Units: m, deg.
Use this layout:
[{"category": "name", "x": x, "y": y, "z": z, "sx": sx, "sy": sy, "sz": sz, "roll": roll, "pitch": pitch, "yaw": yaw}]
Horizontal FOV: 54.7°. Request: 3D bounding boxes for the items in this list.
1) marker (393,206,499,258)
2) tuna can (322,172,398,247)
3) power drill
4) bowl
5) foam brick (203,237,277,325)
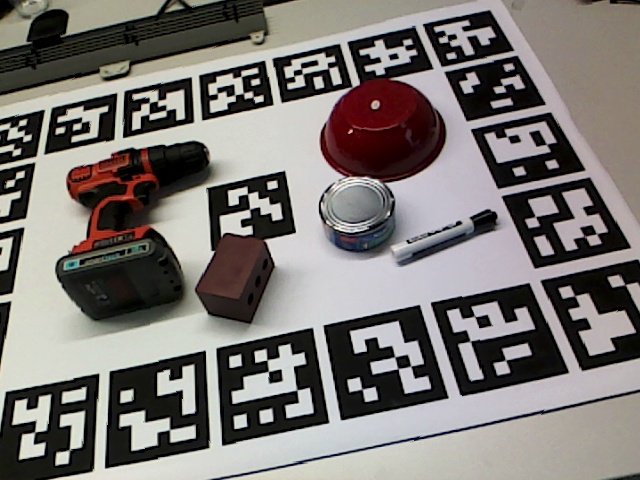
[{"category": "marker", "x": 0.139, "y": -0.010, "z": 0.676, "sx": 0.121, "sy": 0.019, "sz": 0.020, "roll": -21, "pitch": 55, "yaw": -6}, {"category": "tuna can", "x": 0.046, "y": -0.035, "z": 0.704, "sx": 0.086, "sy": 0.033, "sz": 0.086, "roll": -4, "pitch": 53, "yaw": 5}, {"category": "power drill", "x": -0.217, "y": -0.020, "z": 0.733, "sx": 0.184, "sy": 0.057, "sz": 0.188, "roll": -12, "pitch": 50, "yaw": -3}, {"category": "bowl", "x": 0.071, "y": -0.147, "z": 0.782, "sx": 0.162, "sy": 0.055, "sz": 0.162, "roll": -9, "pitch": 46, "yaw": 9}, {"category": "foam brick", "x": -0.084, "y": 0.044, "z": 0.667, "sx": 0.051, "sy": 0.052, "sz": 0.078, "roll": 7, "pitch": 57, "yaw": 14}]
